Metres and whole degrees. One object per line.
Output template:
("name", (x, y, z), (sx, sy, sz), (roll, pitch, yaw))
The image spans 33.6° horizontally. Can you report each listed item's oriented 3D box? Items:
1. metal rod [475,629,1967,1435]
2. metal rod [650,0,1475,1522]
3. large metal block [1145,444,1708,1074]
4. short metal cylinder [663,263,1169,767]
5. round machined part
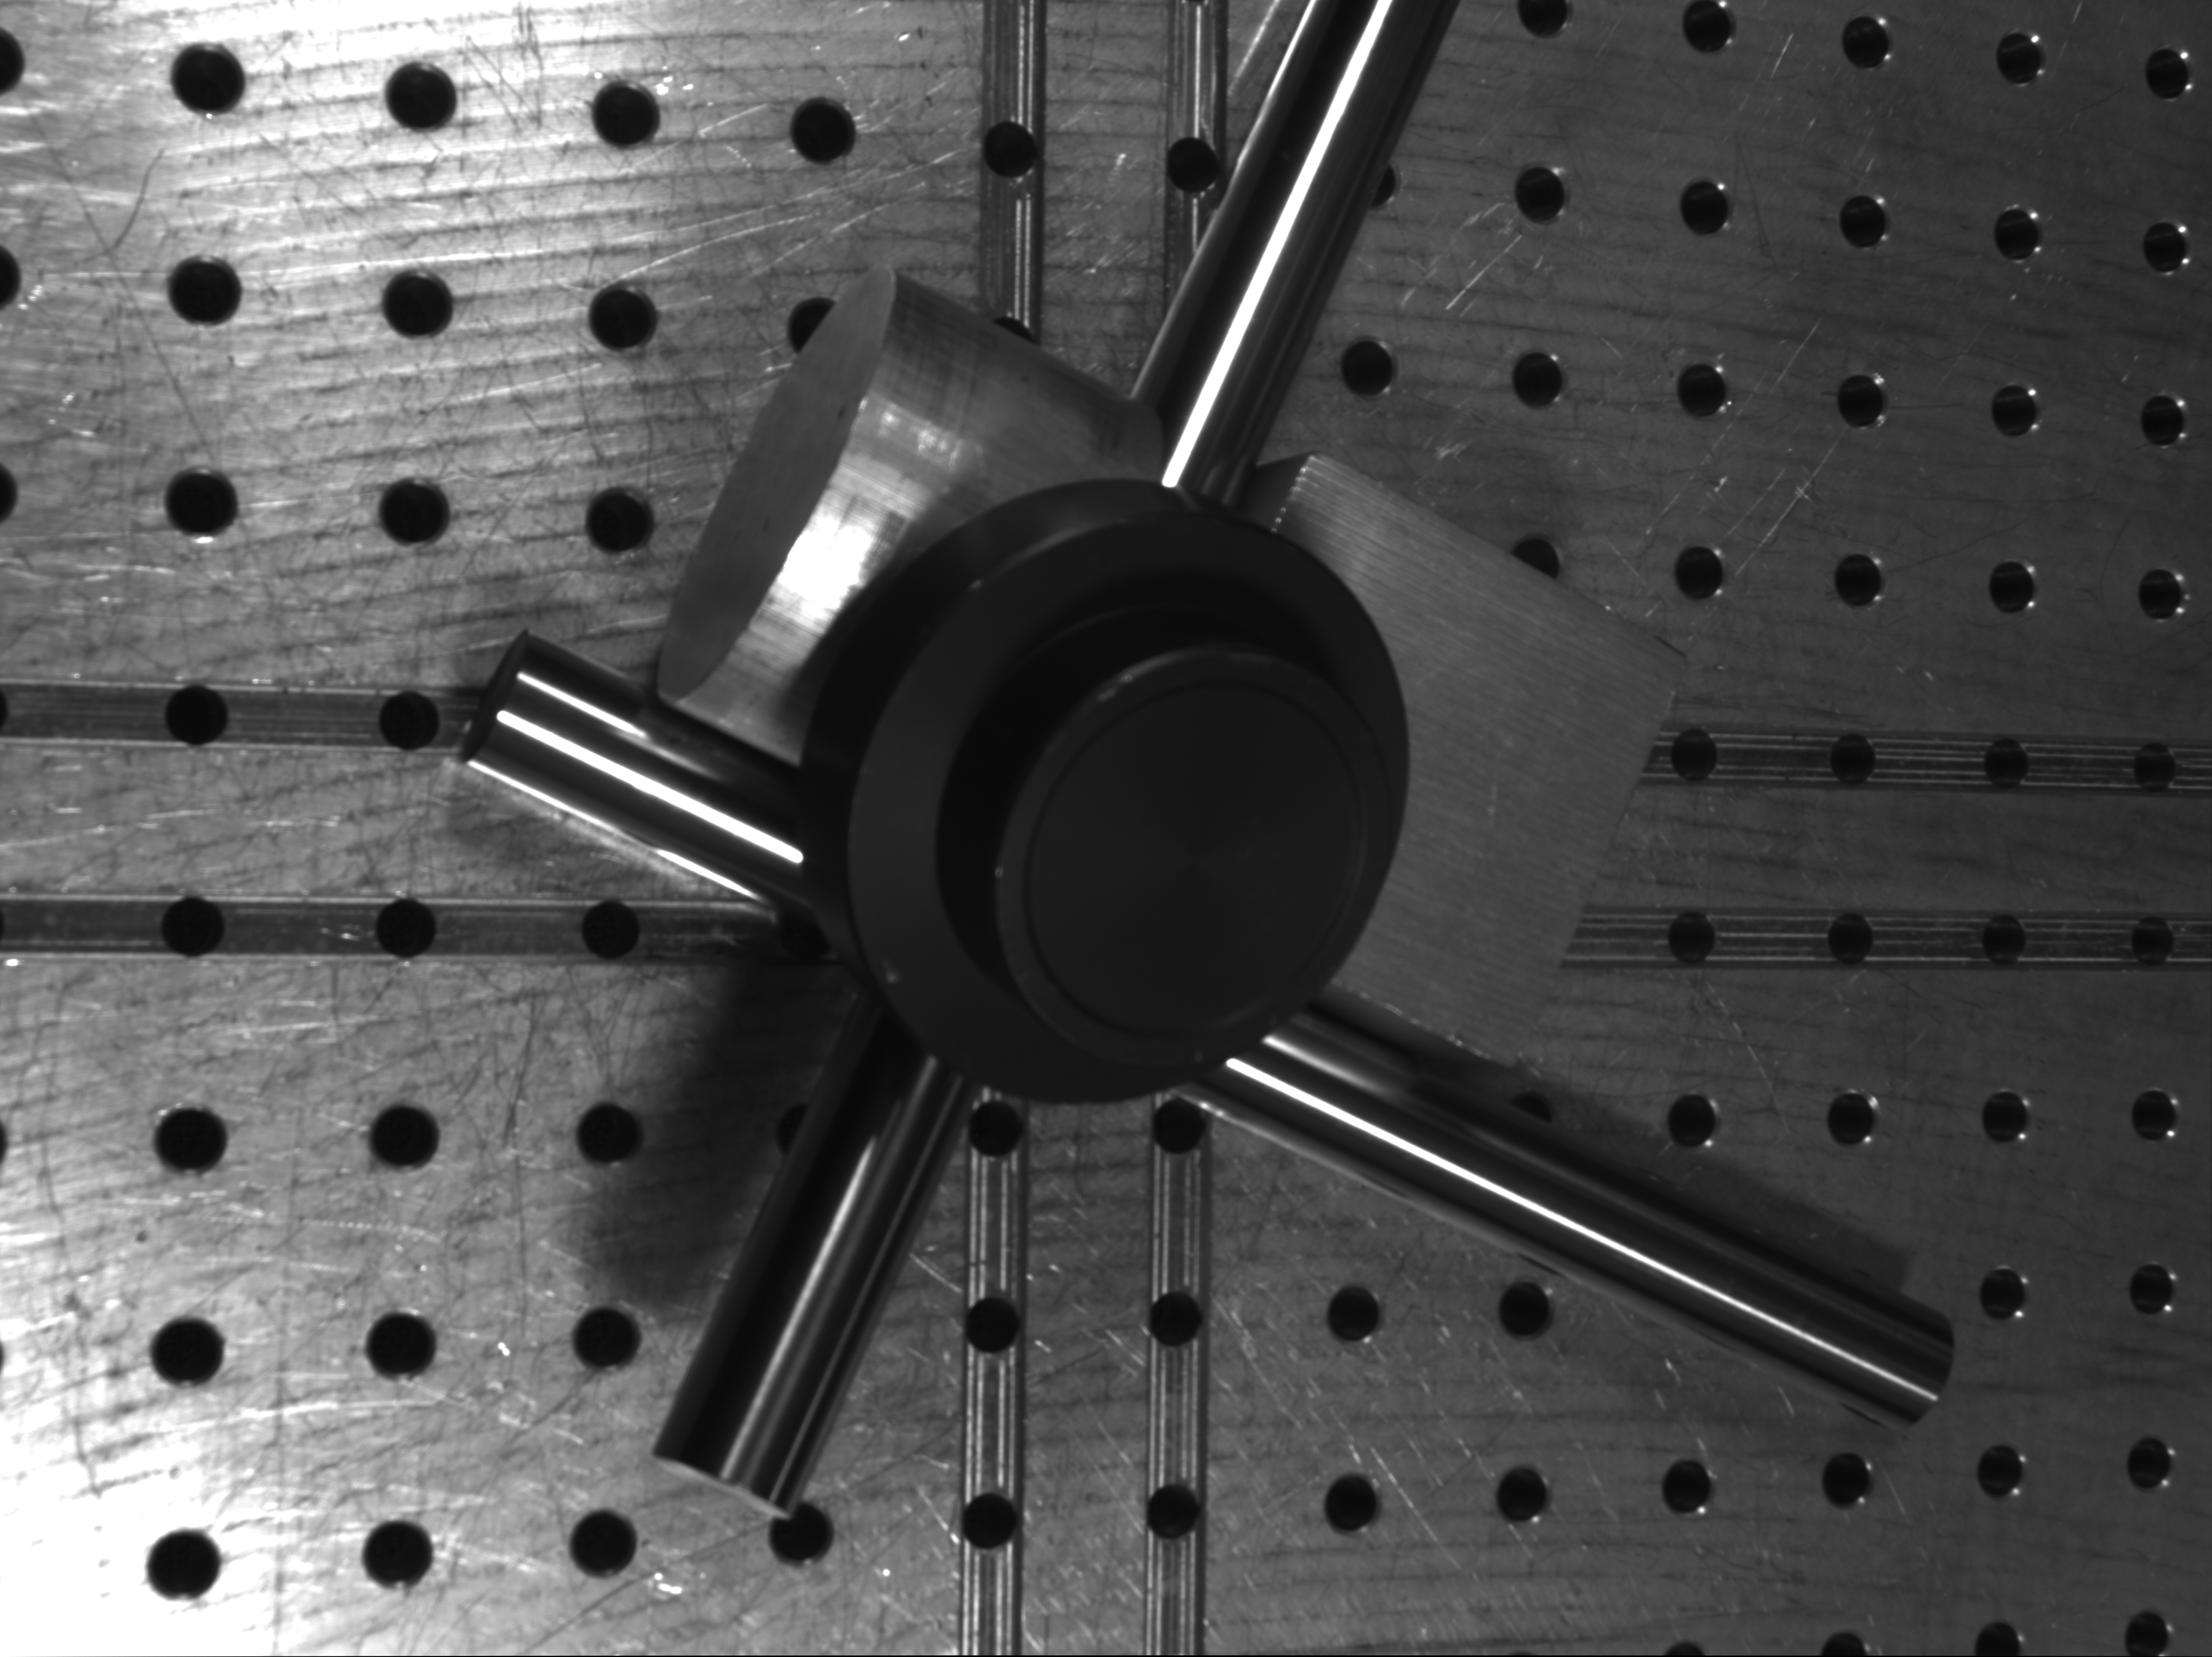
("metal rod", (0.029, 0.041, 0.655), (0.301, 0.025, 0.025), (26, 81, -18))
("metal rod", (-0.002, -0.026, 0.624), (0.025, 0.025, 0.300), (29, 73, -17))
("large metal block", (0.047, -0.011, 0.646), (0.080, 0.050, 0.080), (27, 81, -18))
("short metal cylinder", (-0.032, -0.046, 0.604), (0.050, 0.080, 0.080), (26, 81, -18))
("round machined part", (0.006, -0.001, 0.569), (0.098, 0.042, 0.098), (-10, 114, -23))
